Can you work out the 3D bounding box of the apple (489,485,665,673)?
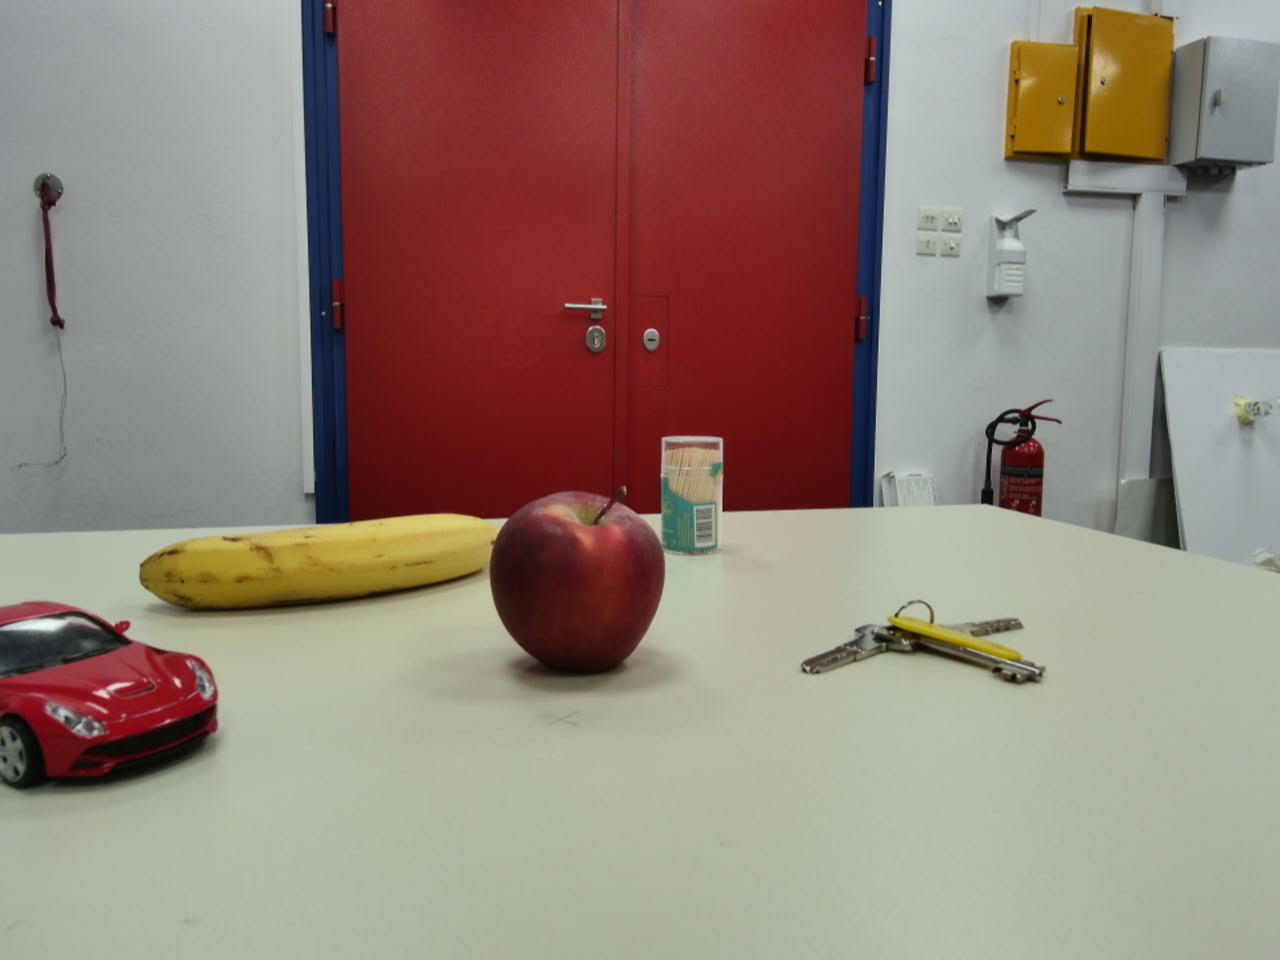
[{"bbox_3d":[-0.025,0.039,0.402,0.070,0.072,0.070,-1,4,0],"label":"apple"}]
